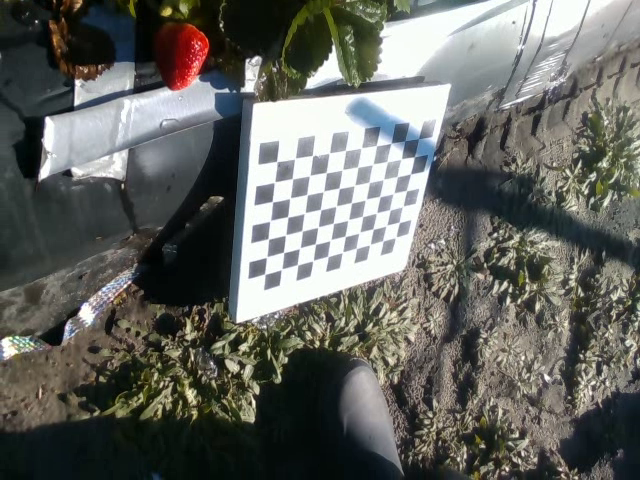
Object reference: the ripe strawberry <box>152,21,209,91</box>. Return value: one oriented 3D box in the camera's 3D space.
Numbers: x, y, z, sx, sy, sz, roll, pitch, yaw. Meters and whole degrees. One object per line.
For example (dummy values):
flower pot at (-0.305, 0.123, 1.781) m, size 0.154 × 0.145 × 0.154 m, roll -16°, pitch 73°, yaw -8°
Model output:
ripe strawberry at (-0.127, -0.164, 0.571) m, size 0.058 × 0.065 × 0.062 m, roll -16°, pitch -25°, yaw 31°
